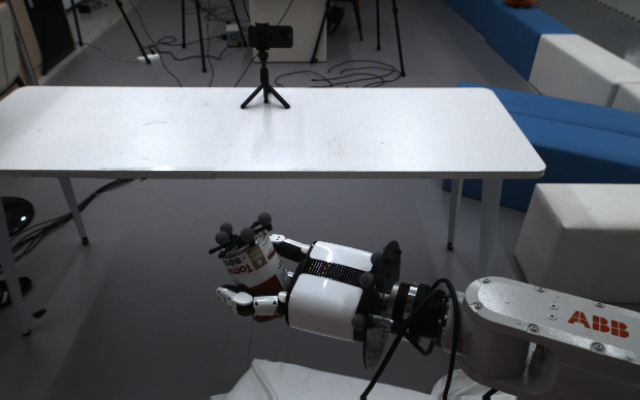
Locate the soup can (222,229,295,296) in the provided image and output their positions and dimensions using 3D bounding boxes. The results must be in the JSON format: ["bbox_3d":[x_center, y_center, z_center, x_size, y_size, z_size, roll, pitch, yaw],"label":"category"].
[{"bbox_3d":[-0.076,0.098,0.632,0.067,0.101,0.067,-23,16,7],"label":"soup can"}]
